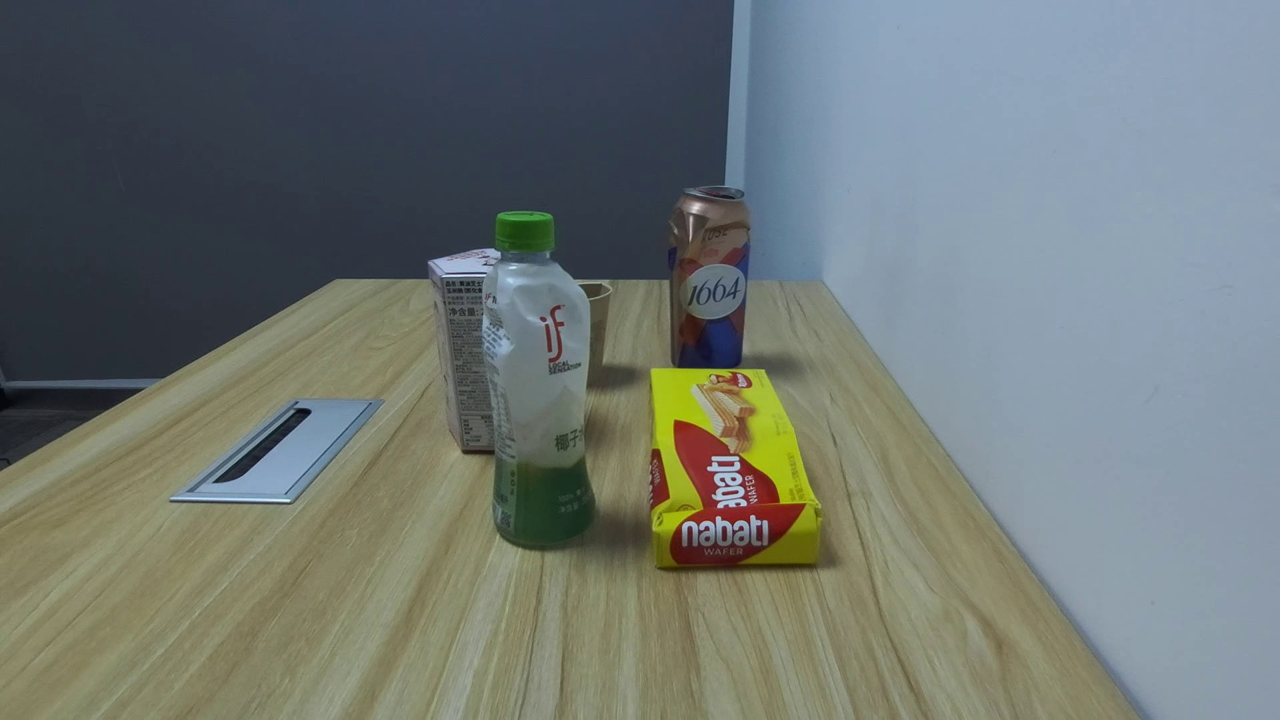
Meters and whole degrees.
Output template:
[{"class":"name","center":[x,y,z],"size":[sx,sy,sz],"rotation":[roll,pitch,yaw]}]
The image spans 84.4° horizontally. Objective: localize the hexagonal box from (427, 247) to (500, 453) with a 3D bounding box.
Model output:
[{"class":"hexagonal box","center":[-0.109,-0.006,0.541],"size":[0.083,0.136,0.091],"rotation":[7,17,33]}]

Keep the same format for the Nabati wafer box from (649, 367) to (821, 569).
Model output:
[{"class":"Nabati wafer box","center":[0.054,0.060,0.476],"size":[0.096,0.042,0.203],"rotation":[1,22,0]}]

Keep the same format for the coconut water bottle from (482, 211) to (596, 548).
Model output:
[{"class":"coconut water bottle","center":[-0.059,0.011,0.406],"size":[0.067,0.187,0.067],"rotation":[0,20,0]}]

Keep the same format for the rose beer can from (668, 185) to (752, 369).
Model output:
[{"class":"rose beer can","center":[0.063,-0.068,0.631],"size":[0.076,0.167,0.065],"rotation":[-6,24,-20]}]

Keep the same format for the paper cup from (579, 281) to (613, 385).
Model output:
[{"class":"paper cup","center":[-0.061,-0.027,0.649],"size":[0.073,0.081,0.069],"rotation":[15,23,33]}]
